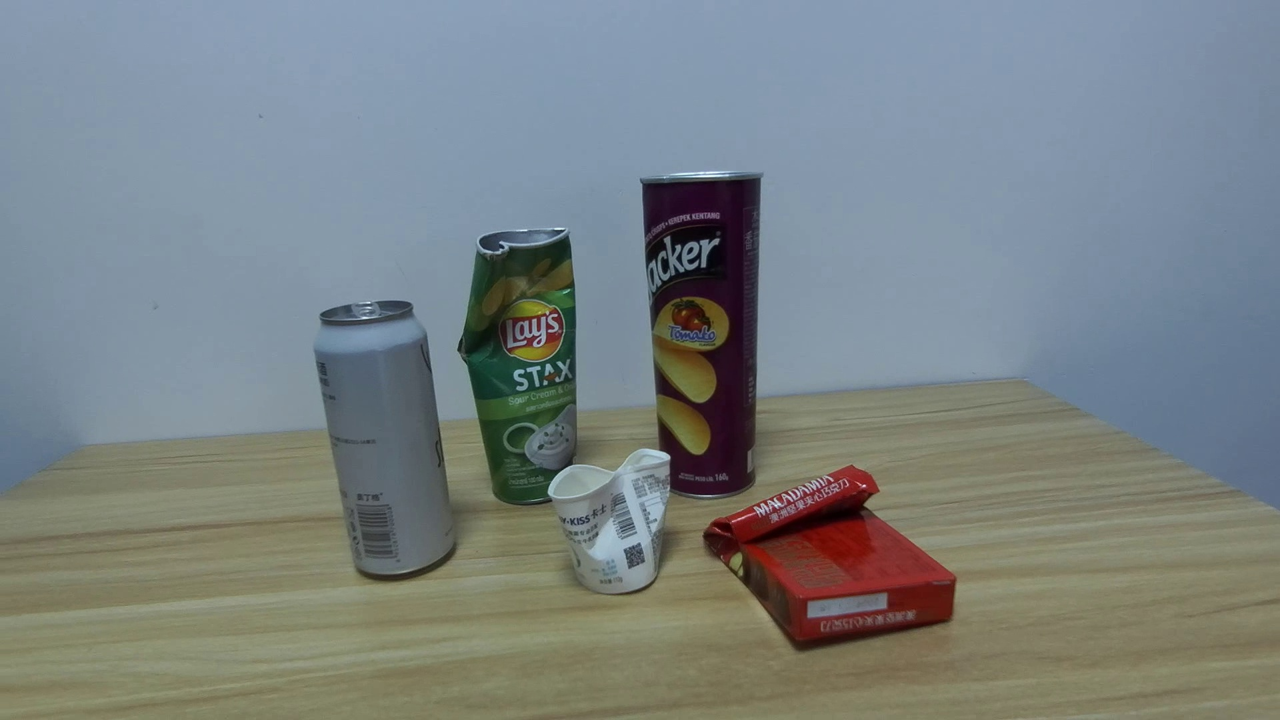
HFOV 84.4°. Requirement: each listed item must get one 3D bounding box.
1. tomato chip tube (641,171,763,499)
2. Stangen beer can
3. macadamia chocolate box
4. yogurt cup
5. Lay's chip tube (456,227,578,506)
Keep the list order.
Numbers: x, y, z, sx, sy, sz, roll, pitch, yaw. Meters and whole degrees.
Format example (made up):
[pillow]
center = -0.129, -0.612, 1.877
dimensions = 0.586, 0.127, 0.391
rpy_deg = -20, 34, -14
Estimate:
[tomato chip tube]
center = 0.050, -0.018, 0.529
dimensions = 0.077, 0.234, 0.080
rpy_deg = -14, 19, -35
[Stangen beer can]
center = -0.162, 0.051, 0.453
dimensions = 0.067, 0.171, 0.067
rpy_deg = -3, 14, 1
[macadamia chocolate box]
center = 0.105, 0.116, 0.420
dimensions = 0.112, 0.056, 0.126
rpy_deg = -20, 22, -5
[yogurt cup]
center = -0.015, 0.097, 0.431
dimensions = 0.053, 0.071, 0.075
rpy_deg = 7, 21, 26
[Lay's chip tube]
center = -0.087, 0.005, 0.537
dimensions = 0.069, 0.201, 0.077
rpy_deg = 1, 20, 13
